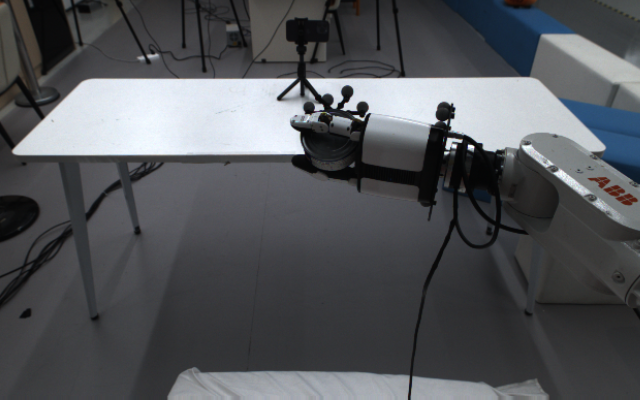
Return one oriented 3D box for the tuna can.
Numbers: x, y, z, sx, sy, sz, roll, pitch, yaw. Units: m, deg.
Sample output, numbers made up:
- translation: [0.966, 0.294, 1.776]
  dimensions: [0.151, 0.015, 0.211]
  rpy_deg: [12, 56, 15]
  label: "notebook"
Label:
- translation: [0.017, -0.087, 0.687]
  dimensions: [0.085, 0.034, 0.085]
  rpy_deg: [-4, 61, 7]
  label: "tuna can"
